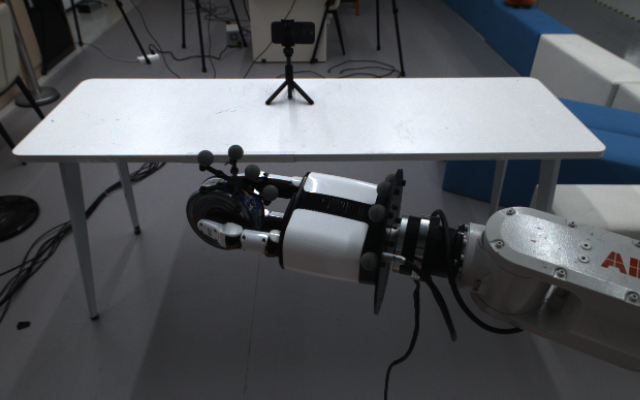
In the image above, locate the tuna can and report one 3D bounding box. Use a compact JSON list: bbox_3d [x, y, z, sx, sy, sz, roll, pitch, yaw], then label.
[{"bbox_3d":[-0.108,0.015,0.558,0.085,0.085,0.034,12,35,14],"label":"tuna can"}]
